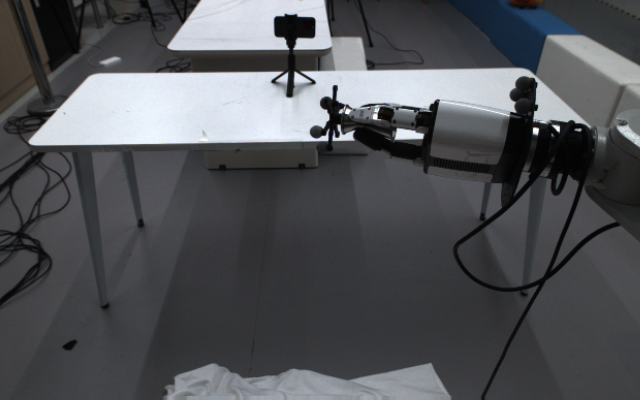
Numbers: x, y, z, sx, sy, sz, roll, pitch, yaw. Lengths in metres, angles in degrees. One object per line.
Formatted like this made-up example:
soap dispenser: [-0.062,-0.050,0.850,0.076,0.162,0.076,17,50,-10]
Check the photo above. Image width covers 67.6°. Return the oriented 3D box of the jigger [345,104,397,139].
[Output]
jigger: [0.071,-0.108,0.635,0.071,0.043,0.043,7,35,16]
